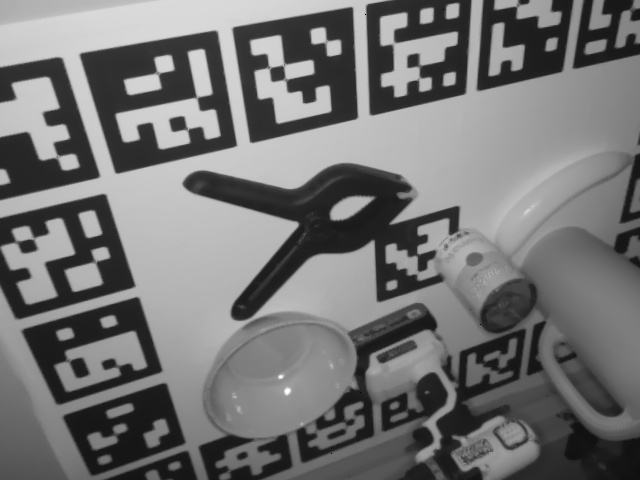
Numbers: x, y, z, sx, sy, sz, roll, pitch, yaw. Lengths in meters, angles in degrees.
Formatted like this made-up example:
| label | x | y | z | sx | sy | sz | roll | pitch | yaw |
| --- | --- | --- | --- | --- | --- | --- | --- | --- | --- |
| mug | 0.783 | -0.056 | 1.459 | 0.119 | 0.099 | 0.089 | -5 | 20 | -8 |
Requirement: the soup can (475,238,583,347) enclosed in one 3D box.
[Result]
| label | x | y | z | sx | sy | sz | roll | pitch | yaw |
| --- | --- | --- | --- | --- | --- | --- | --- | --- | --- |
| soup can | 0.220 | 0.054 | 0.738 | 0.068 | 0.102 | 0.067 | -15 | 132 | -16 |

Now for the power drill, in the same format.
| label | x | y | z | sx | sy | sz | roll | pitch | yaw |
| --- | --- | --- | --- | --- | --- | --- | --- | --- | --- |
| power drill | 0.142 | 0.198 | 0.710 | 0.186 | 0.186 | 0.057 | -20 | 125 | -10 |

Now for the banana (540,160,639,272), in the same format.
| label | x | y | z | sx | sy | sz | roll | pitch | yaw |
| --- | --- | --- | --- | --- | --- | --- | --- | --- | --- |
| banana | 0.318 | -0.039 | 0.768 | 0.197 | 0.039 | 0.074 | -37 | 135 | 2 |

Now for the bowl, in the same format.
| label | x | y | z | sx | sy | sz | roll | pitch | yaw |
| --- | --- | --- | --- | --- | --- | --- | --- | --- | --- |
| bowl | 0.005 | 0.140 | 0.719 | 0.163 | 0.055 | 0.160 | -11 | 121 | -18 |

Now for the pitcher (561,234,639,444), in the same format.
| label | x | y | z | sx | sy | sz | roll | pitch | yaw |
| --- | --- | --- | --- | --- | --- | --- | --- | --- | --- |
| pitcher | 0.364 | 0.105 | 0.744 | 0.189 | 0.242 | 0.133 | -36 | 129 | 1 |

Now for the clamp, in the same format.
| label | x | y | z | sx | sy | sz | roll | pitch | yaw |
| --- | --- | --- | --- | --- | --- | --- | --- | --- | --- |
| clamp | 0.040 | -0.009 | 0.652 | 0.204 | 0.036 | 0.164 | -19 | 120 | -13 |
